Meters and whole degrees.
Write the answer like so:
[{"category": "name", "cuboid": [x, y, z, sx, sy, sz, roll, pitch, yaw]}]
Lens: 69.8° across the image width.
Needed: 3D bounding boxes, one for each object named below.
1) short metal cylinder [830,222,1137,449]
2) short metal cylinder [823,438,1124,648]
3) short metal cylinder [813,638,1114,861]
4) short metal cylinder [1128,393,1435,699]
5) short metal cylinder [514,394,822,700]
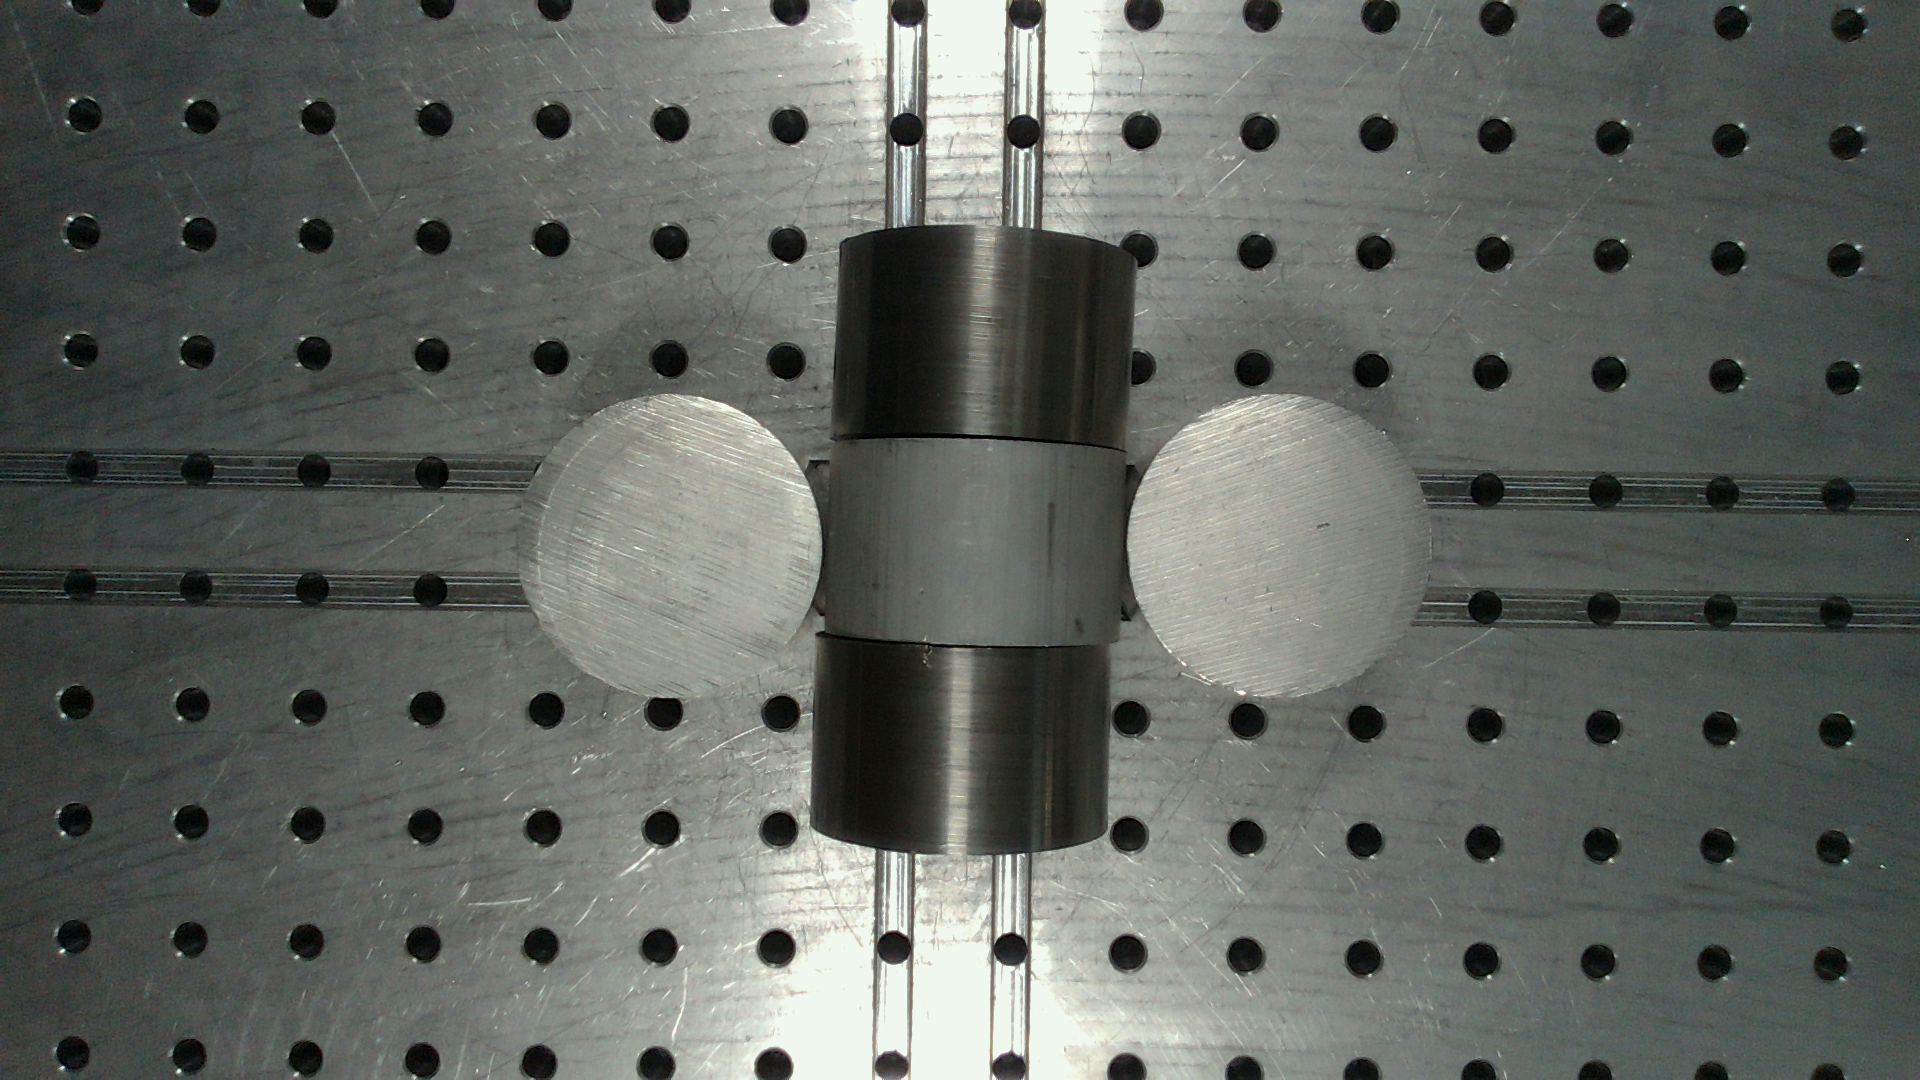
[{"category": "short metal cylinder", "cuboid": [0.006, -0.051, 0.369, 0.080, 0.080, 0.050, 2, 90, 0]}, {"category": "short metal cylinder", "cuboid": [0.004, 0.001, 0.370, 0.080, 0.080, 0.050, 2, 90, 0]}, {"category": "short metal cylinder", "cuboid": [0.001, 0.052, 0.370, 0.080, 0.080, 0.050, 1, 90, 0]}, {"category": "short metal cylinder", "cuboid": [0.084, 0.002, 0.385, 0.080, 0.050, 0.080, 0, 90, 0]}, {"category": "short metal cylinder", "cuboid": [-0.076, 0.002, 0.384, 0.080, 0.050, 0.080, 0, 90, 0]}]
